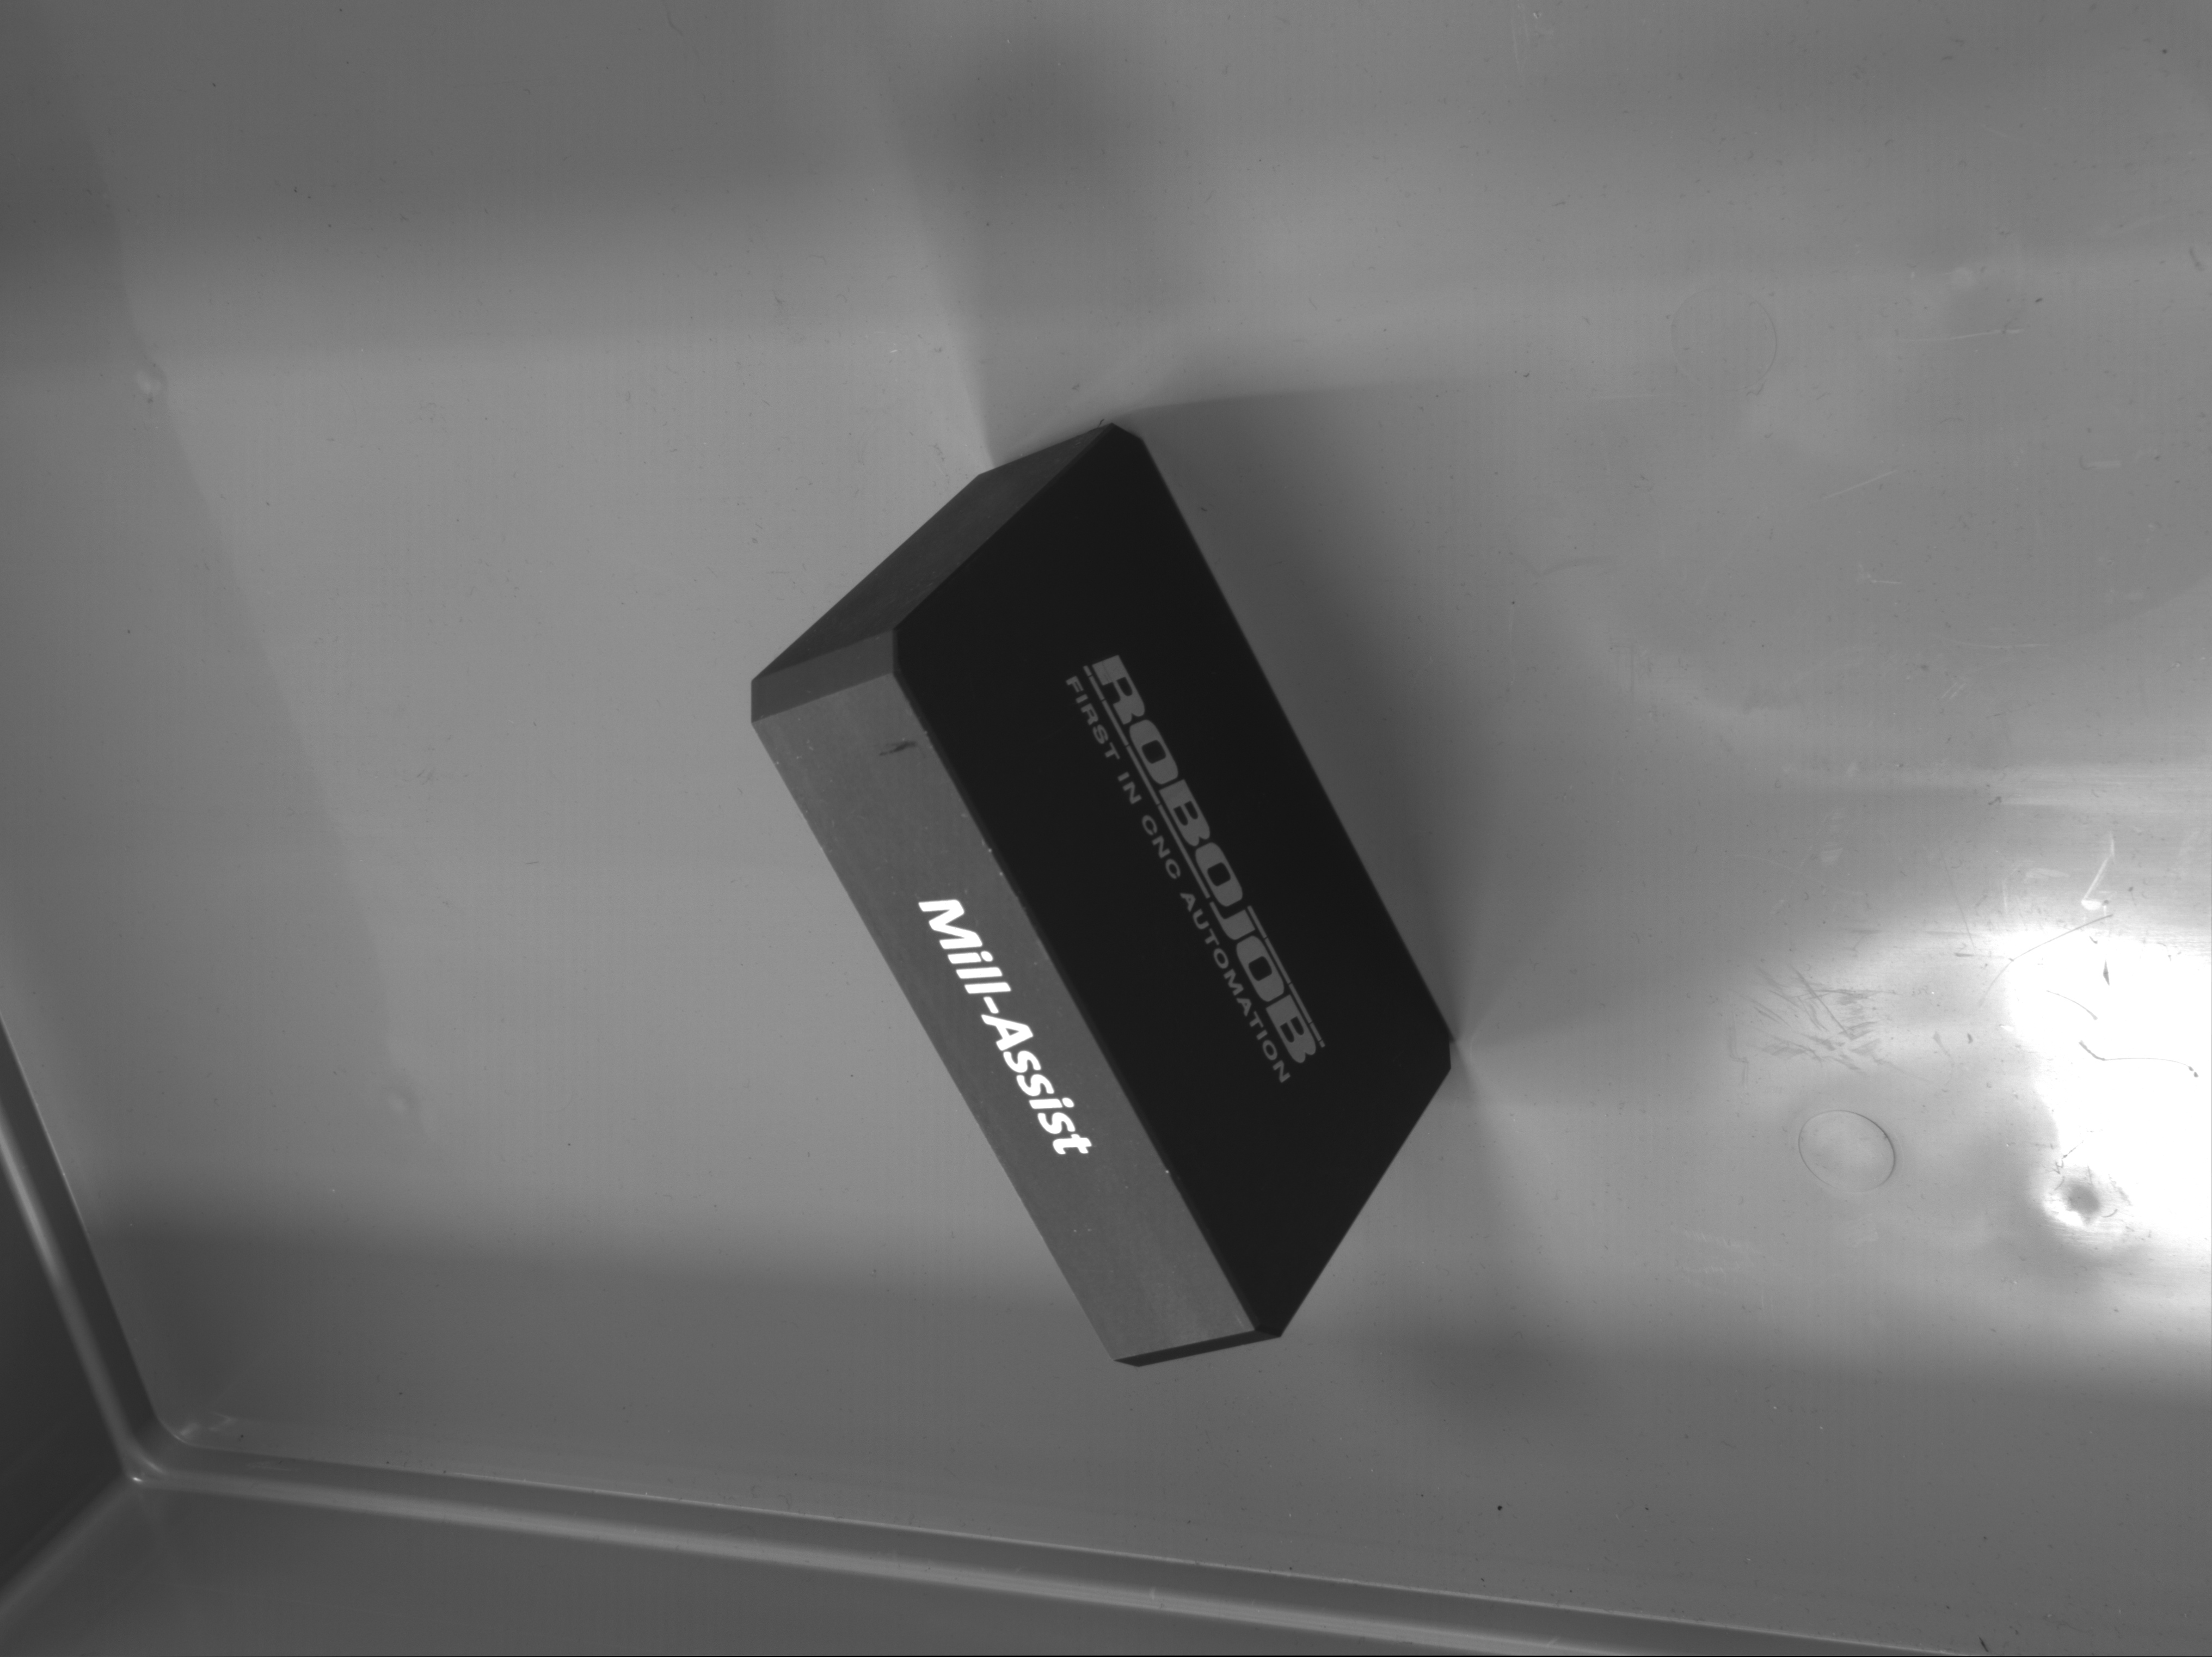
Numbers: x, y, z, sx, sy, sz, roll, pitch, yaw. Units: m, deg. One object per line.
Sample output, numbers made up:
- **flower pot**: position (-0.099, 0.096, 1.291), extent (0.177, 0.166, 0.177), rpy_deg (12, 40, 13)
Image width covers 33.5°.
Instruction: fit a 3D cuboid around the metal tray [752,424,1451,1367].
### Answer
- **metal tray**: position (0.003, 0.010, 0.603), extent (0.030, 0.090, 0.130), rpy_deg (-17, 109, 34)
